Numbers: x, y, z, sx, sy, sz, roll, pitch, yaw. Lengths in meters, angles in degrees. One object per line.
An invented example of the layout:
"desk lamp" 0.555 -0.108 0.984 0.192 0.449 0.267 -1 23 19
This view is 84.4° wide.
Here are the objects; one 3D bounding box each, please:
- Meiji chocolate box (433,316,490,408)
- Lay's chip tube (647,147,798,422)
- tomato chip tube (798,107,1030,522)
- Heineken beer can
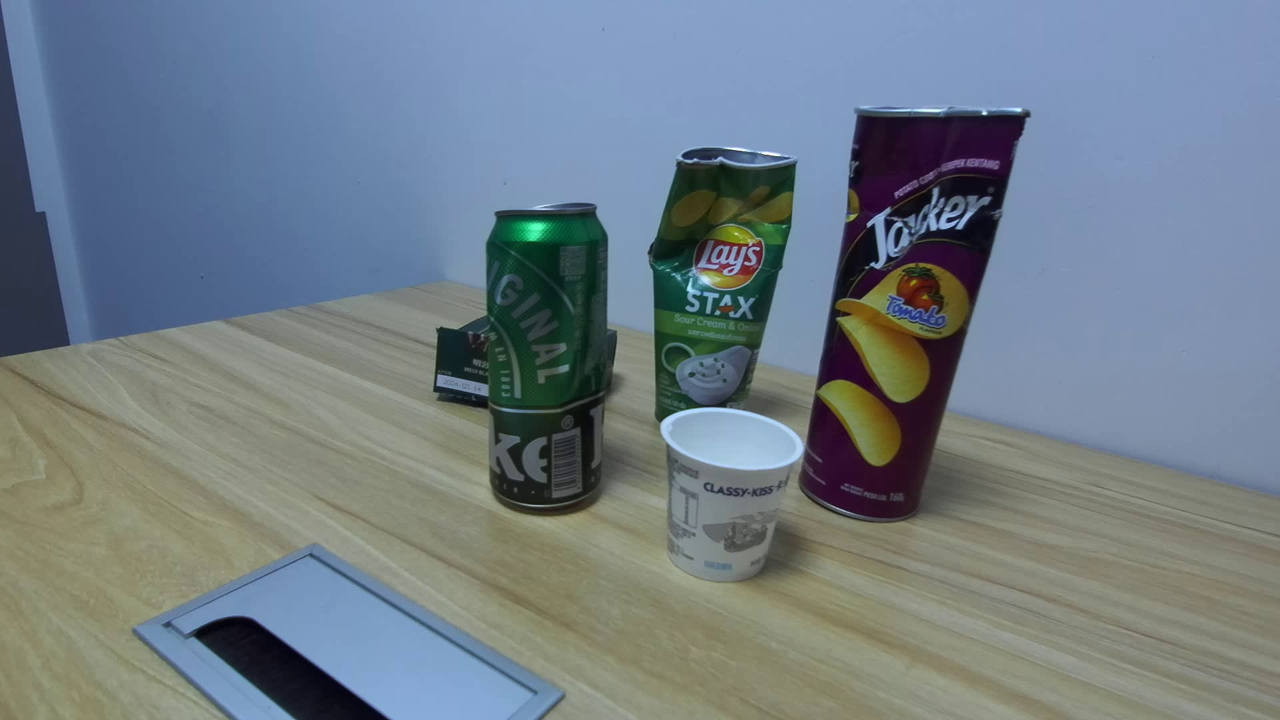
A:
"Meiji chocolate box" -0.094 -0.001 0.592 0.122 0.058 0.116 9 18 19
"Lay's chip tube" 0.054 -0.048 0.511 0.077 0.201 0.069 -7 21 -28
"tomato chip tube" 0.147 -0.026 0.416 0.078 0.236 0.090 8 21 12
"Heineken beer can" -0.052 -0.001 0.400 0.068 0.168 0.069 -3 16 -16
